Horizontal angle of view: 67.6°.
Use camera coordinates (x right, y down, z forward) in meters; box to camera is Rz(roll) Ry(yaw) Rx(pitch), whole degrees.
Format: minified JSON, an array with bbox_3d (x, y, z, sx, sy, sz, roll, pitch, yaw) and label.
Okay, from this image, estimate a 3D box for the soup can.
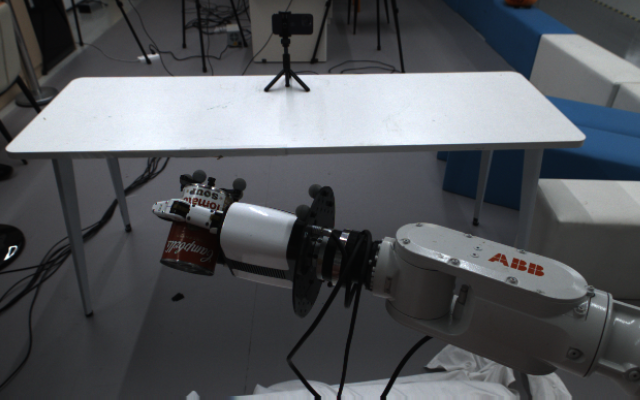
[{"bbox_3d":[-0.153,0.039,0.611,0.067,0.067,0.101,9,71,9],"label":"soup can"}]
